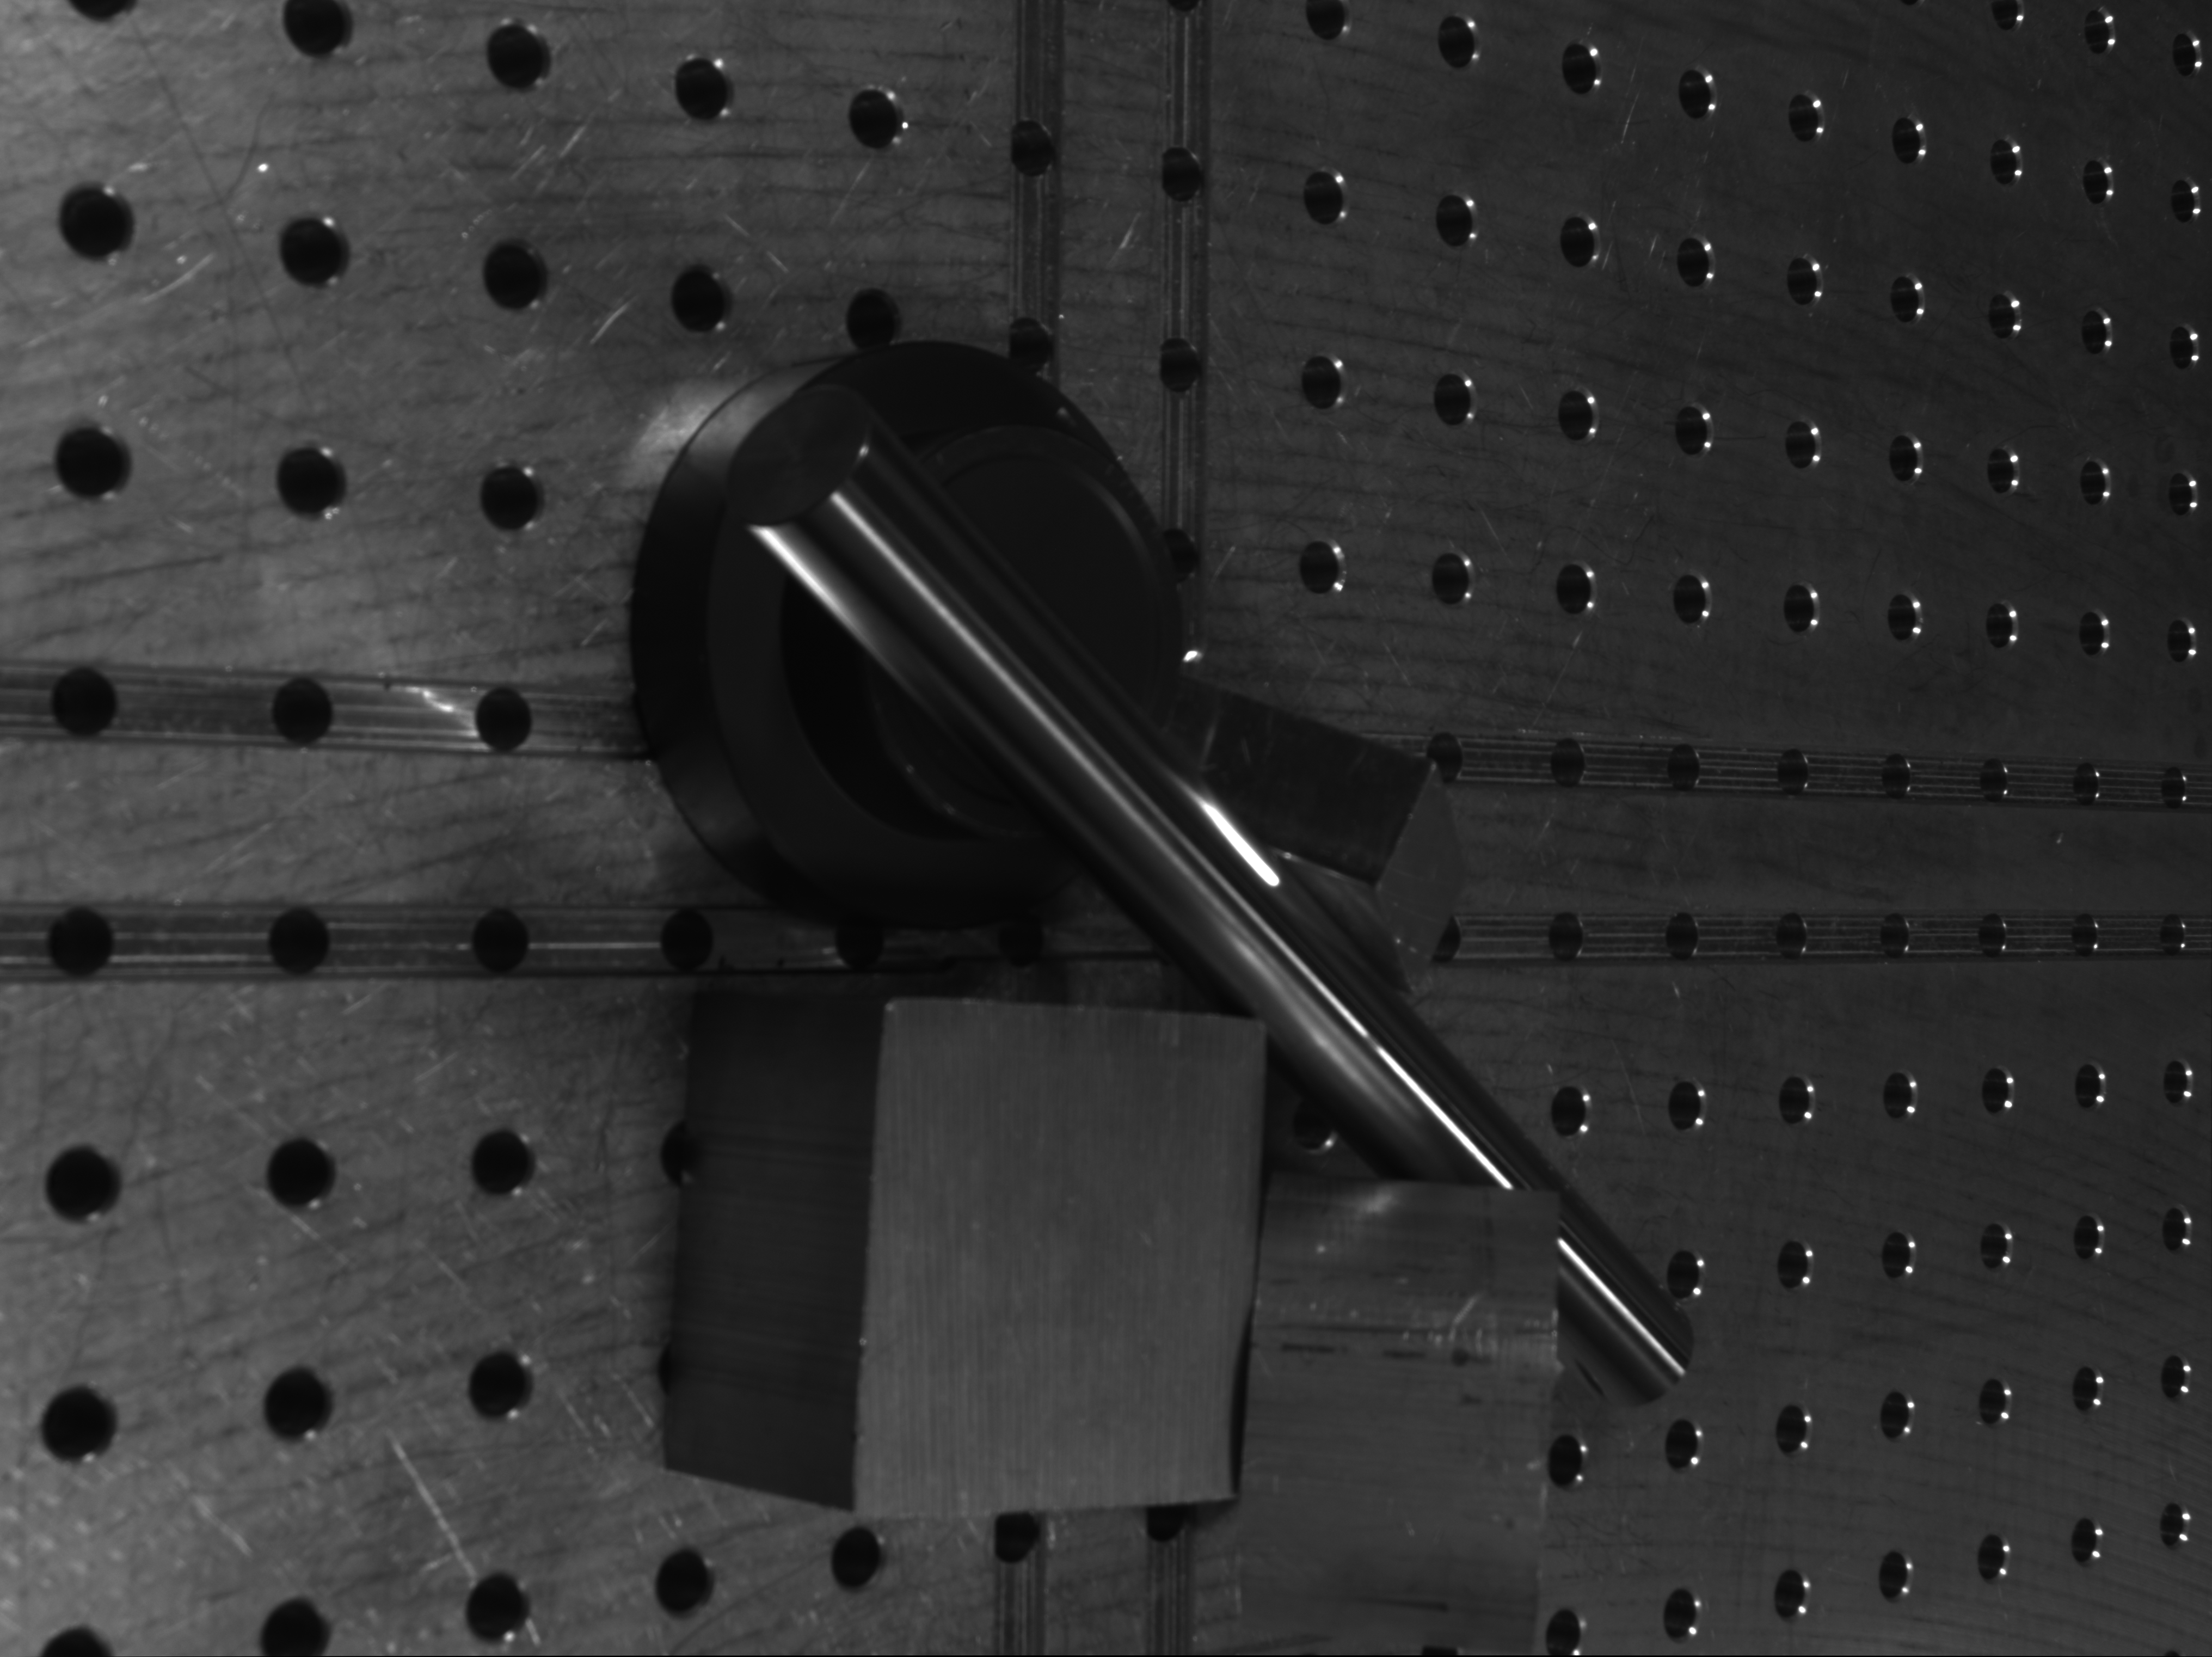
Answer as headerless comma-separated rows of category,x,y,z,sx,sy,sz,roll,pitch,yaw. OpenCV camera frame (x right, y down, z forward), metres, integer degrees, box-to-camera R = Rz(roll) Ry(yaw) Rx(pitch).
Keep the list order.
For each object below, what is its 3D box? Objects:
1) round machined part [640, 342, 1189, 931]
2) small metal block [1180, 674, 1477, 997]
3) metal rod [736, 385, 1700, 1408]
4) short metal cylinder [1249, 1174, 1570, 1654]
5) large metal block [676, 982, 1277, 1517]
round machined part,-0.025,-0.032,0.609,0.098,0.042,0.098,0,90,-40
small metal block,0.034,0.001,0.640,0.025,0.050,0.050,-64,159,-17
metal rod,0.032,0.025,0.625,0.301,0.025,0.025,46,62,-44
short metal cylinder,0.053,0.102,0.641,0.080,0.050,0.080,4,90,-84
large metal block,-0.021,0.068,0.604,0.080,0.050,0.080,6,86,-40
